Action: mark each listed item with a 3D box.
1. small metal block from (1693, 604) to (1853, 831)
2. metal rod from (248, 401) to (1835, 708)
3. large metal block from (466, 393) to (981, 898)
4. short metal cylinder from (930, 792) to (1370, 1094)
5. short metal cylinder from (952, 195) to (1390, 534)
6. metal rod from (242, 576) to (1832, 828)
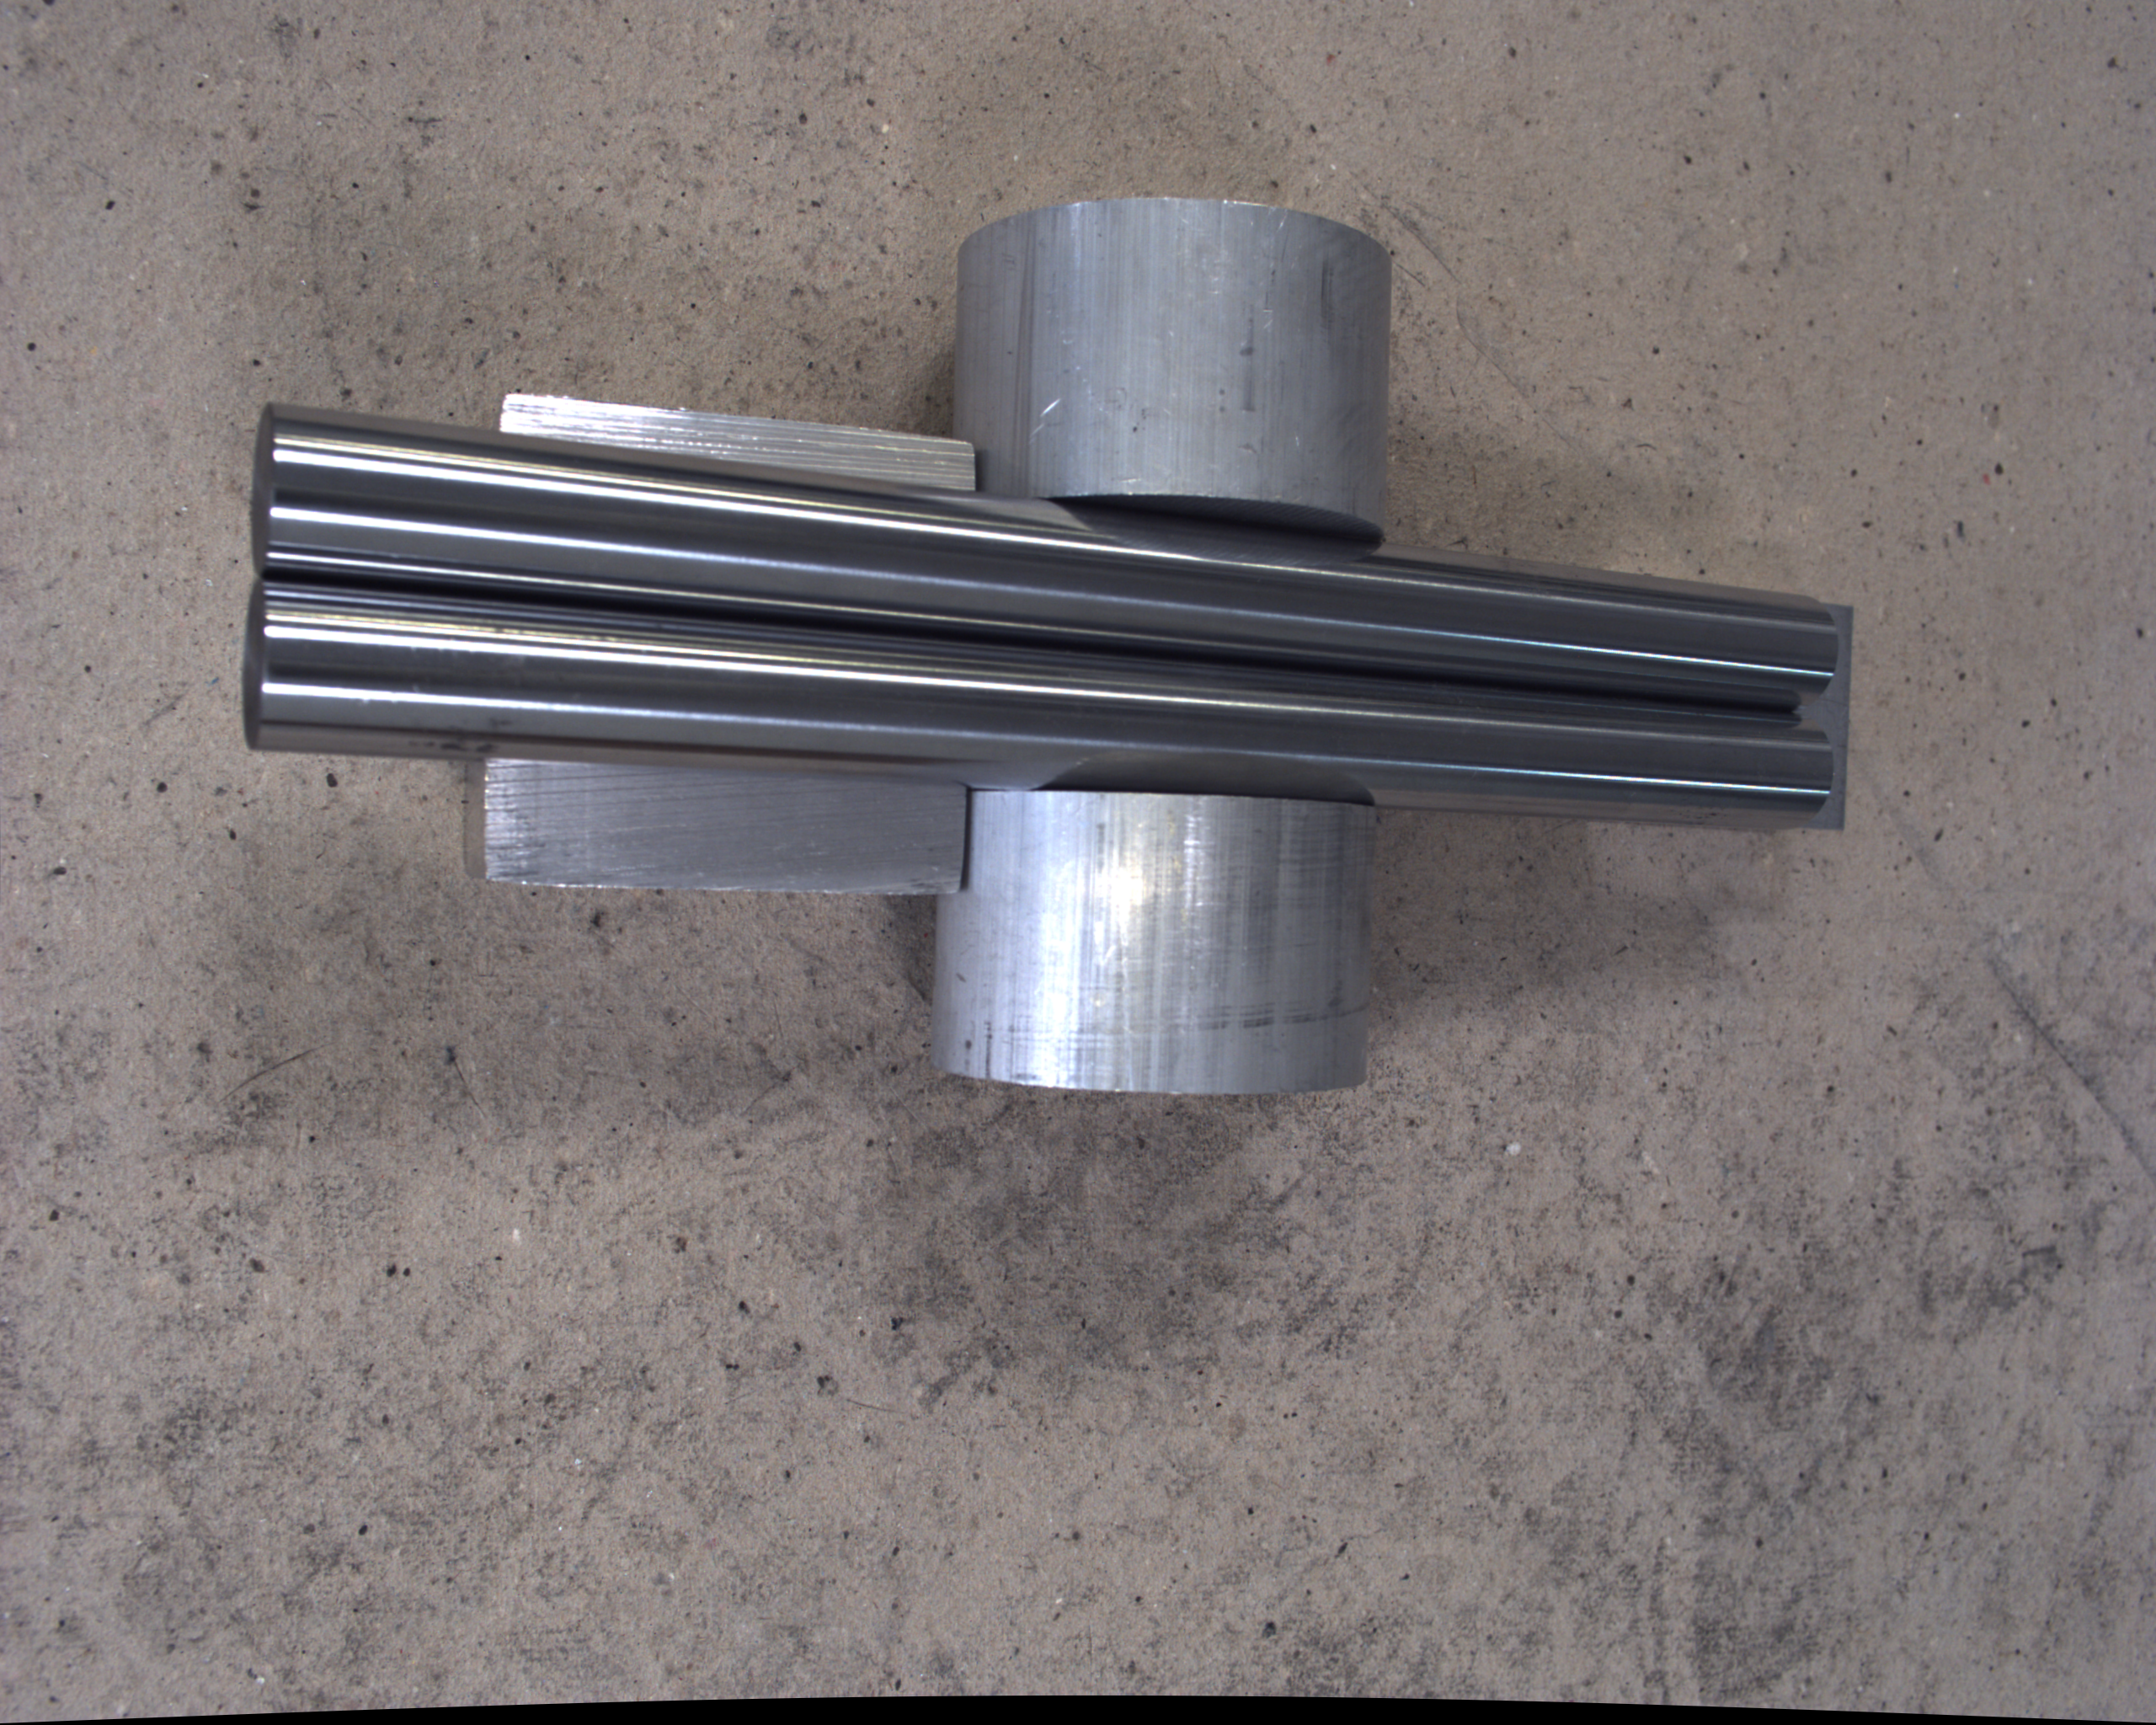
[{"bbox_3d":[0.142,-0.033,0.463,0.050,0.025,0.050,3,89,-20],"label":"small metal block"},{"bbox_3d":[0.016,-0.049,0.369,0.303,0.025,0.025,2,90,-28],"label":"metal rod"},{"bbox_3d":[-0.065,-0.035,0.373,0.081,0.050,0.080,2,90,-20],"label":"large metal block"},{"bbox_3d":[0.013,0.014,0.386,0.081,0.080,0.050,2,90,-20],"label":"short metal cylinder"},{"bbox_3d":[0.017,-0.086,0.387,0.081,0.080,0.050,2,90,-20],"label":"short metal cylinder"},{"bbox_3d":[0.016,-0.024,0.369,0.303,0.025,0.025,2,90,-28],"label":"metal rod"}]
